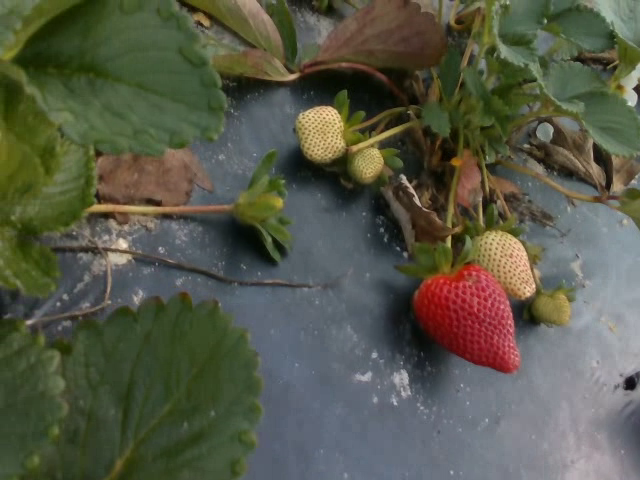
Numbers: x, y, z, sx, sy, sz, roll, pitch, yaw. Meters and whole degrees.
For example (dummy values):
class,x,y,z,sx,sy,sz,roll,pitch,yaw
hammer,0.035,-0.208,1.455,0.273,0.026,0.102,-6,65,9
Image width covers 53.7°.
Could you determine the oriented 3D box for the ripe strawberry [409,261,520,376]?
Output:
class,x,y,z,sx,sy,sz,roll,pitch,yaw
ripe strawberry,0.070,0.035,0.277,0.050,0.059,0.034,-12,-37,-36
